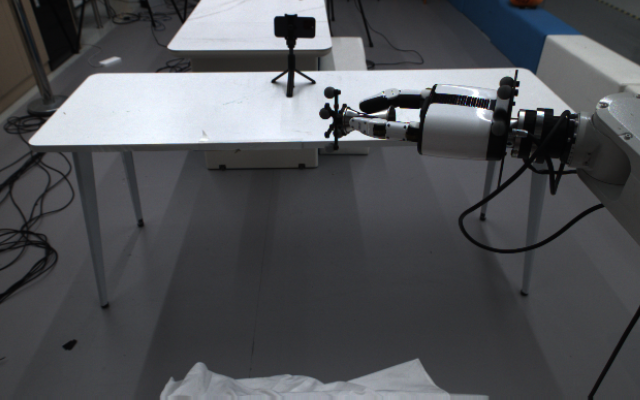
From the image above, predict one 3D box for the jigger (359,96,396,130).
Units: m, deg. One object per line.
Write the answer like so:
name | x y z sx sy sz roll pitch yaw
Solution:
jigger | 0.077 -0.118 0.700 0.071 0.043 0.043 4 33 22
